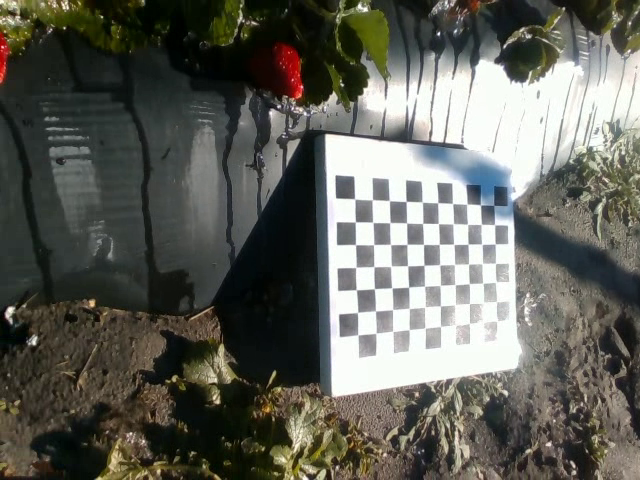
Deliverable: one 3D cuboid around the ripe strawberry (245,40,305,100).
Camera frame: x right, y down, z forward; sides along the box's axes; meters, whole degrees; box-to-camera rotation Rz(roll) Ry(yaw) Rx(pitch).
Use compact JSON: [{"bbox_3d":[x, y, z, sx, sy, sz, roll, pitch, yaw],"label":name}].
[{"bbox_3d":[-0.028,-0.127,0.454,0.041,0.053,0.047,-8,-35,-33],"label":"ripe strawberry"}]
